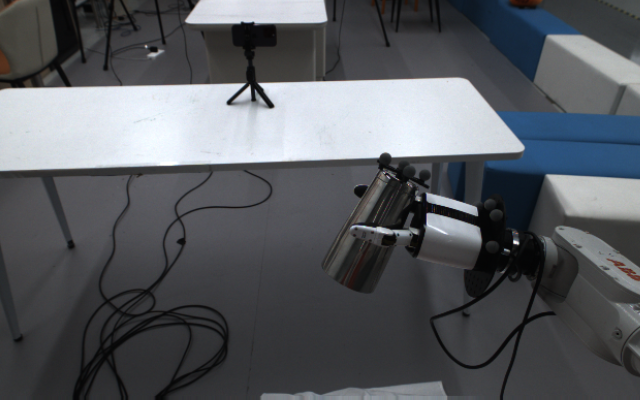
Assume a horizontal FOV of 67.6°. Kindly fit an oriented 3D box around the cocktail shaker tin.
[{"bbox_3d":[0.082,0.040,0.724,0.093,0.170,0.093,24,13,-6],"label":"cocktail shaker tin"}]
